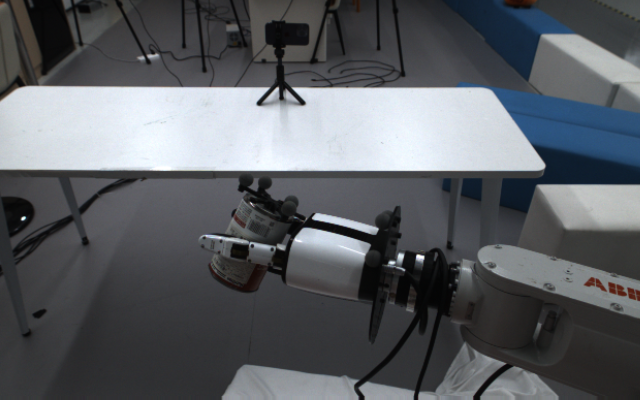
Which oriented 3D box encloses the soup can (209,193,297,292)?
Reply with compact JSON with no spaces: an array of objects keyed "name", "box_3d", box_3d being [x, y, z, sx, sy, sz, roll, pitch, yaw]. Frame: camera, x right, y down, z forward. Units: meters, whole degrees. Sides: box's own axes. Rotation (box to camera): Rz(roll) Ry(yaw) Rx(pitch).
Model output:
[{"name":"soup can","box_3d":[-0.081,0.052,0.583,0.067,0.101,0.067,27,10,-5]}]
